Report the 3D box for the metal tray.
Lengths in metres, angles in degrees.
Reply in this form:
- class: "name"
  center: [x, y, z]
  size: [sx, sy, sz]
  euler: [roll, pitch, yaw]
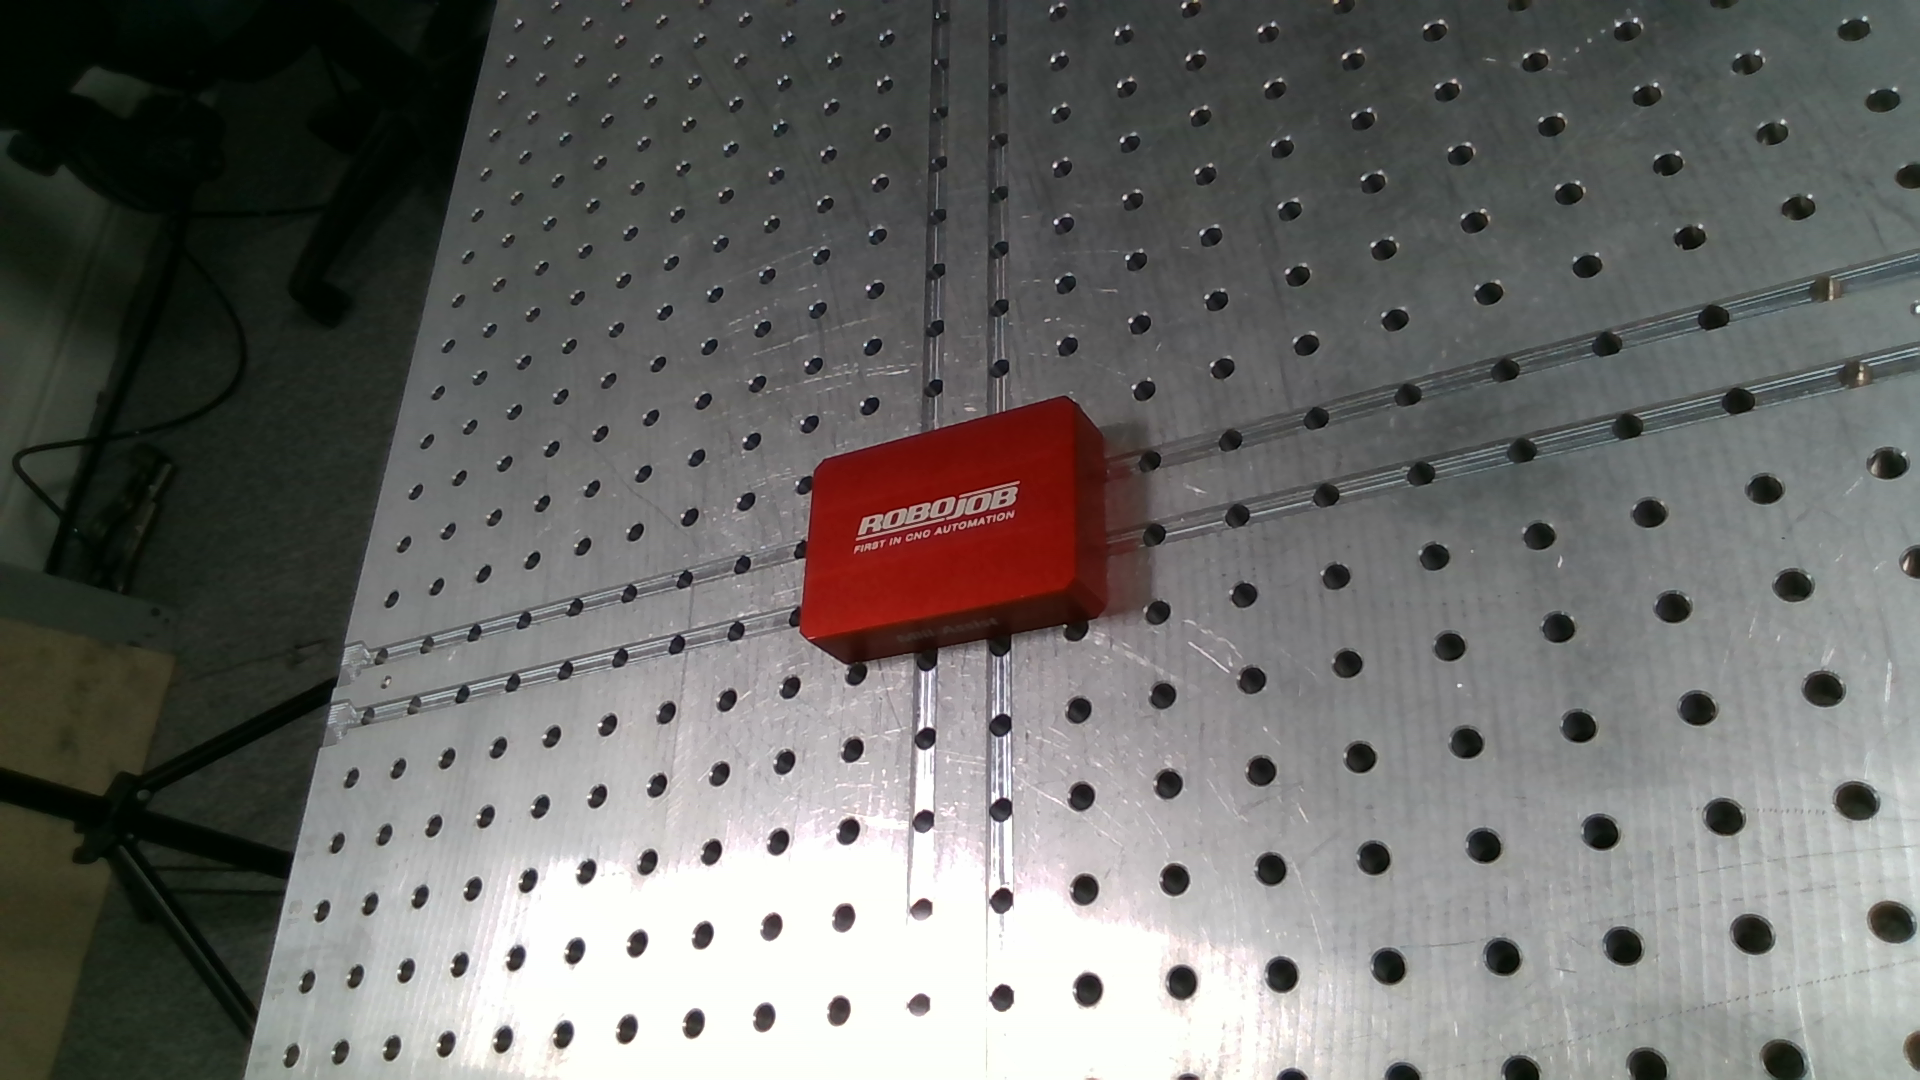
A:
- class: "metal tray"
  center: [-0.004, -0.003, 0.589]
  size: [0.130, 0.030, 0.090]
  euler: [-13, 60, 26]
